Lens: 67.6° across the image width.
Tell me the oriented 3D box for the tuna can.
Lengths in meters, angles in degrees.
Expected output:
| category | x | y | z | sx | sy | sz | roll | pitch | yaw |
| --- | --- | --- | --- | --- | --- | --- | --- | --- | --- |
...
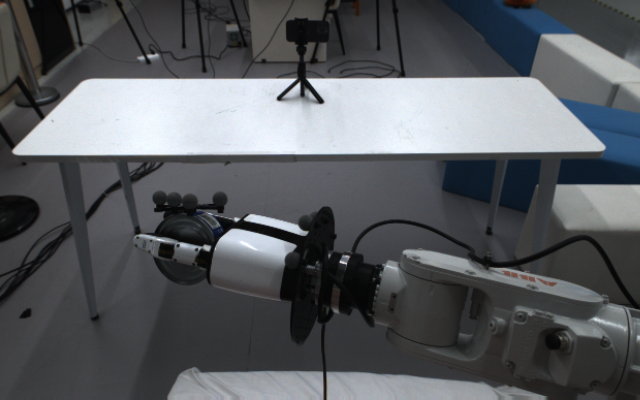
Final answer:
| category | x | y | z | sx | sy | sz | roll | pitch | yaw |
| --- | --- | --- | --- | --- | --- | --- | --- | --- | --- |
| tuna can | -0.153 | 0.057 | 0.581 | 0.085 | 0.085 | 0.034 | 12 | 7 | 13 |
